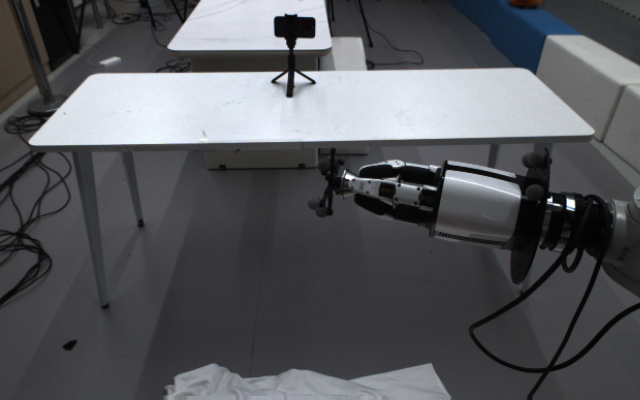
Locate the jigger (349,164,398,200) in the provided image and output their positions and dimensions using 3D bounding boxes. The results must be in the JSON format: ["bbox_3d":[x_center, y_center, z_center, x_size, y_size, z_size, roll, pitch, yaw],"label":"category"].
[{"bbox_3d":[0.069,-0.020,0.598,0.071,0.043,0.043,7,35,16],"label":"jigger"}]
